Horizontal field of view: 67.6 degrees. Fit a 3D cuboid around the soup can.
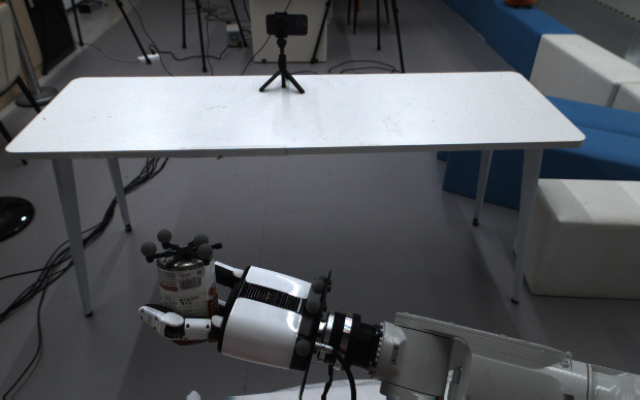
[{"bbox_3d":[-0.158,0.116,0.588,0.067,0.101,0.067,-1,16,0],"label":"soup can"}]
